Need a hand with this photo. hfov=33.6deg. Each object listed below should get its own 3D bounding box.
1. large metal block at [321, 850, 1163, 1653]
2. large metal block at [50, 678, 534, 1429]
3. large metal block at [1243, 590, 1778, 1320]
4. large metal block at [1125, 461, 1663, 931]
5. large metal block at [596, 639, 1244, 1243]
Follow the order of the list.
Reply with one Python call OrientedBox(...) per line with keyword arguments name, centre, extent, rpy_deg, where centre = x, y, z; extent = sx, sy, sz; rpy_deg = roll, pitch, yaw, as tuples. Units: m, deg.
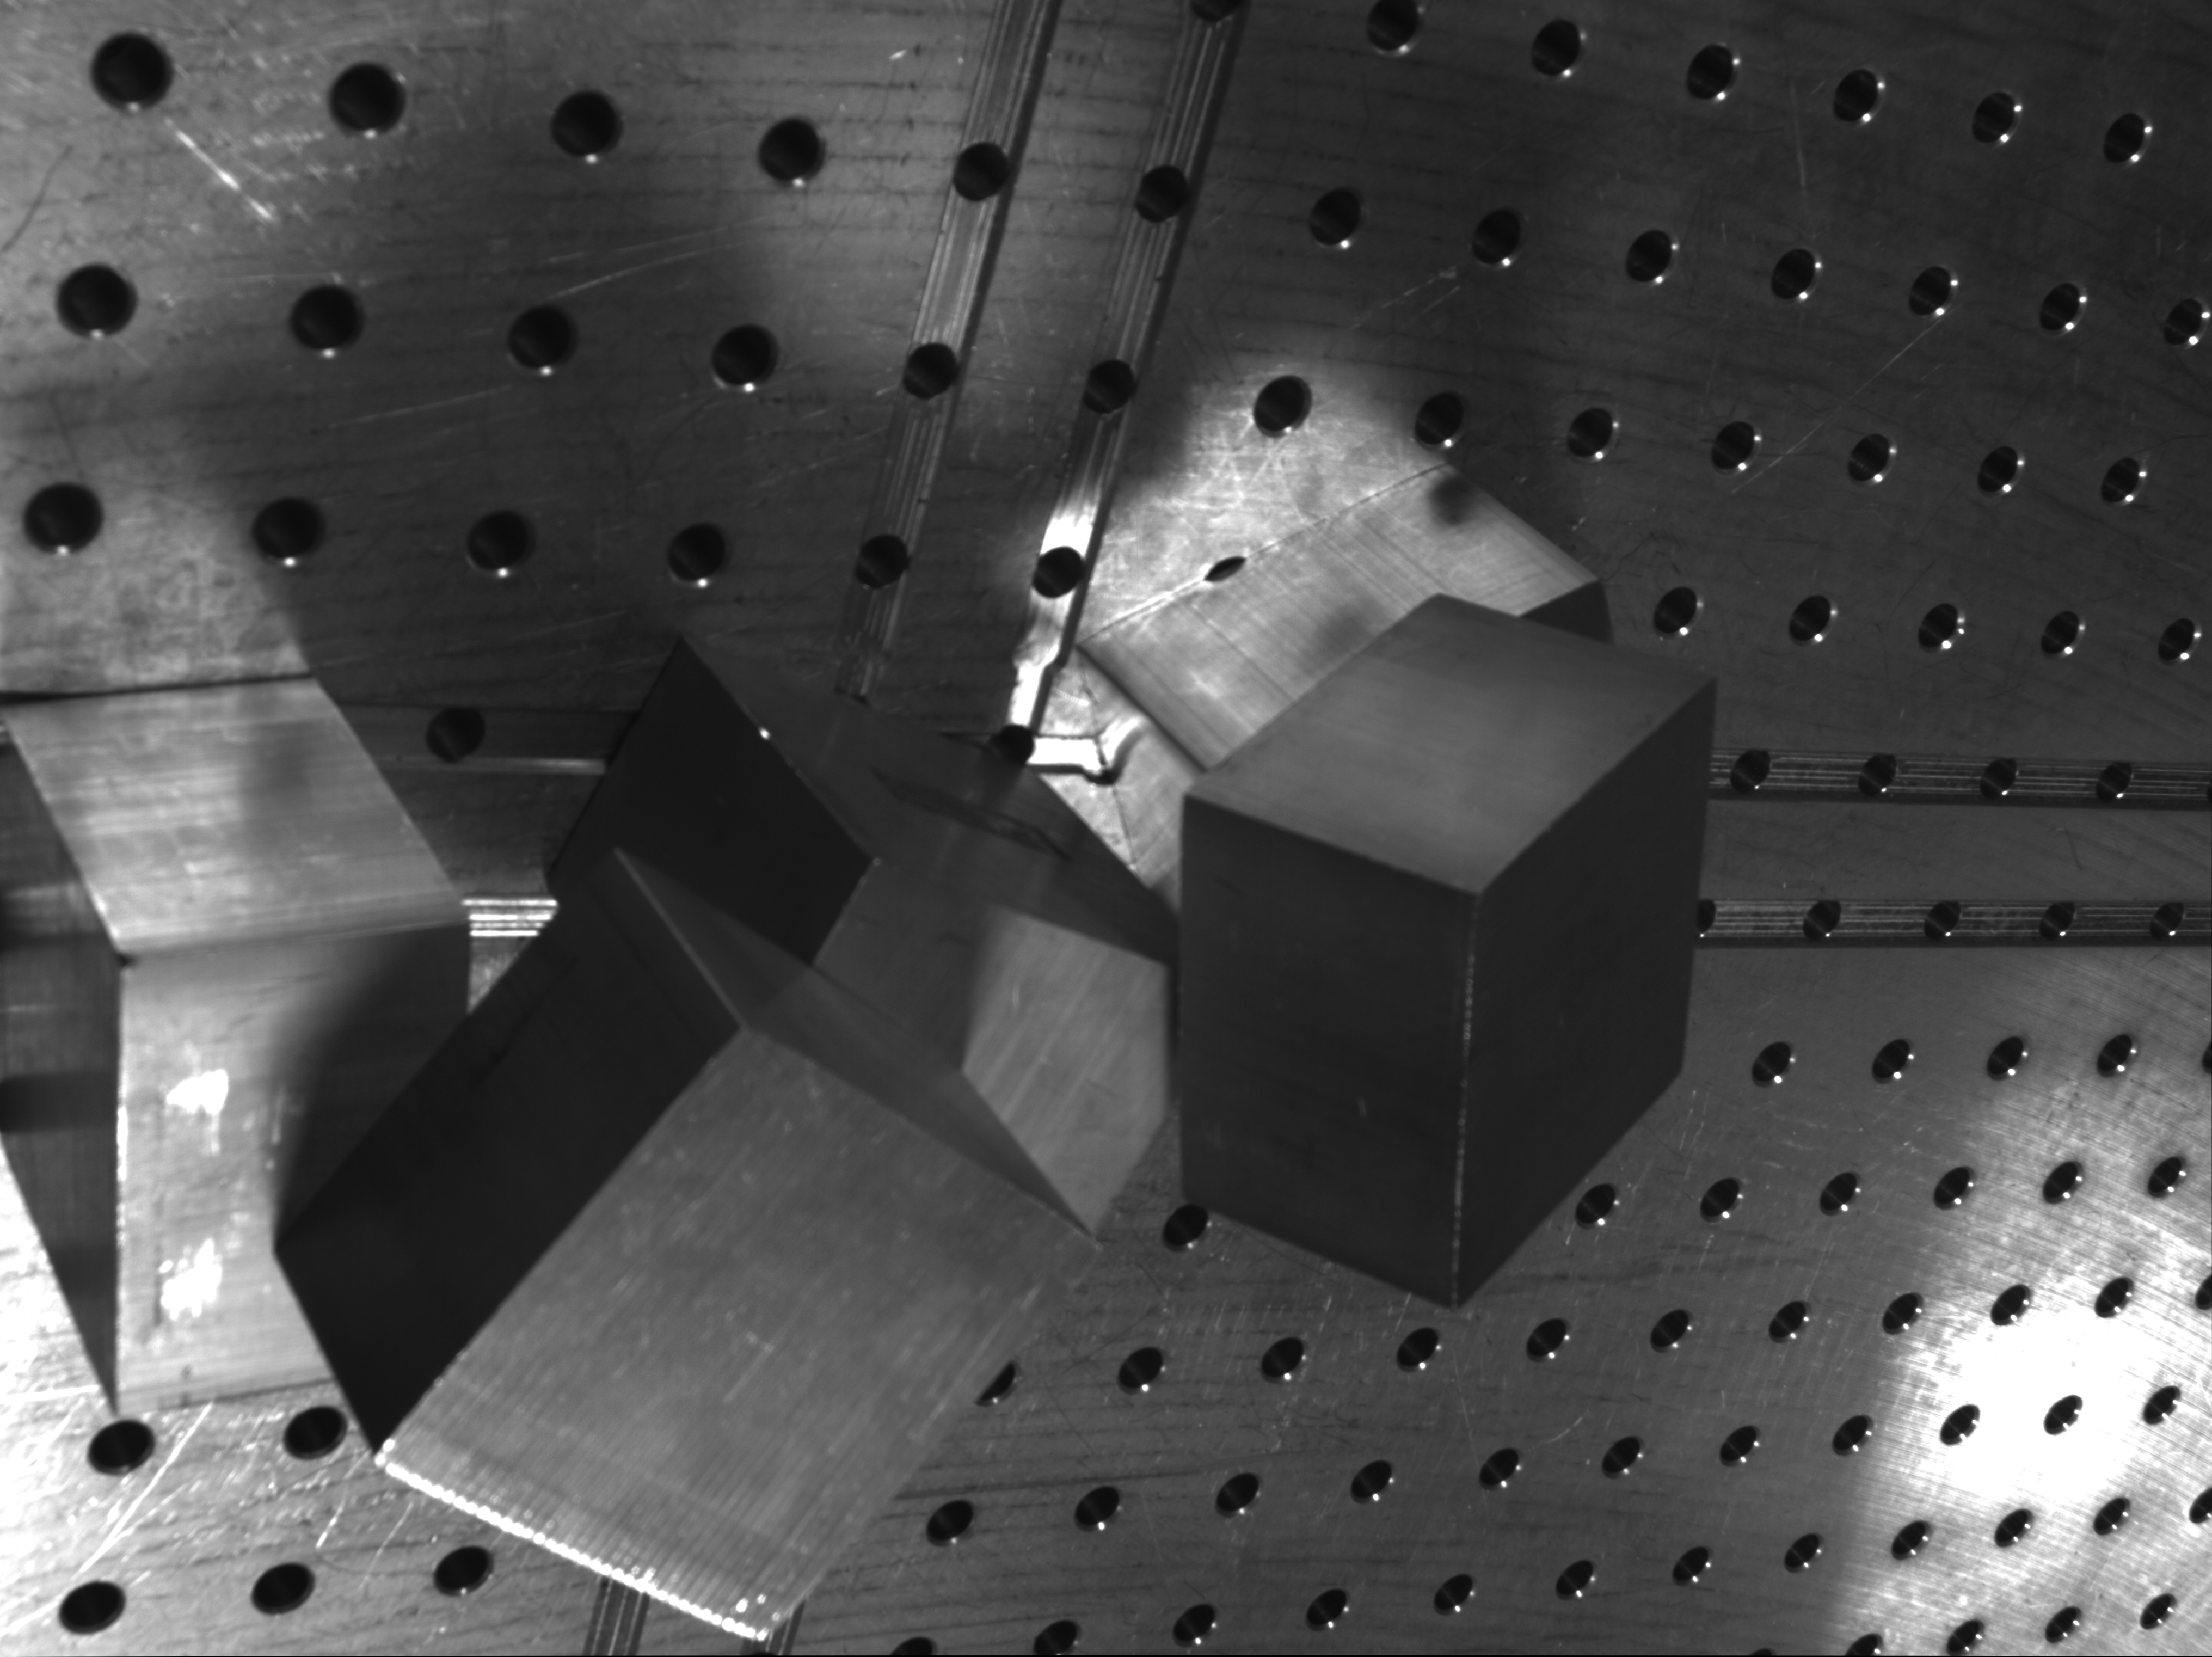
OrientedBox(name="large metal block", centre=(-0.053, 0.063, 0.540), extent=(0.080, 0.050, 0.080), rpy_deg=(-49, 130, 5))
OrientedBox(name="large metal block", centre=(-0.128, 0.032, 0.563), extent=(0.050, 0.080, 0.080), rpy_deg=(-6, 121, -27))
OrientedBox(name="large metal block", centre=(0.066, 0.019, 0.598), extent=(0.080, 0.050, 0.080), rpy_deg=(-38, 138, -44))
OrientedBox(name="large metal block", centre=(0.058, -0.007, 0.667), extent=(0.080, 0.050, 0.080), rpy_deg=(-27, 128, -13))
OrientedBox(name="large metal block", centre=(-0.027, 0.019, 0.613), extent=(0.080, 0.080, 0.050), rpy_deg=(21, 106, -37))
